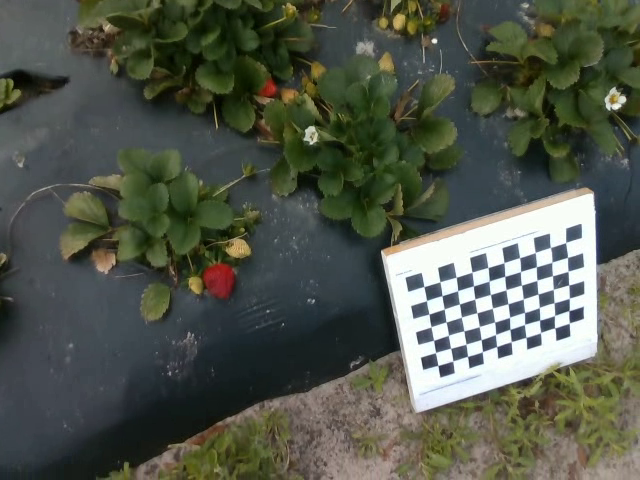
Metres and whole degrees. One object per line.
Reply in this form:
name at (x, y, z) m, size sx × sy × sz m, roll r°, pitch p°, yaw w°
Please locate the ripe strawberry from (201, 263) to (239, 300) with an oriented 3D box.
ripe strawberry at (-0.136, 0.061, 0.788) m, size 0.046 × 0.059 × 0.046 m, roll -21°, pitch -42°, yaw 0°
